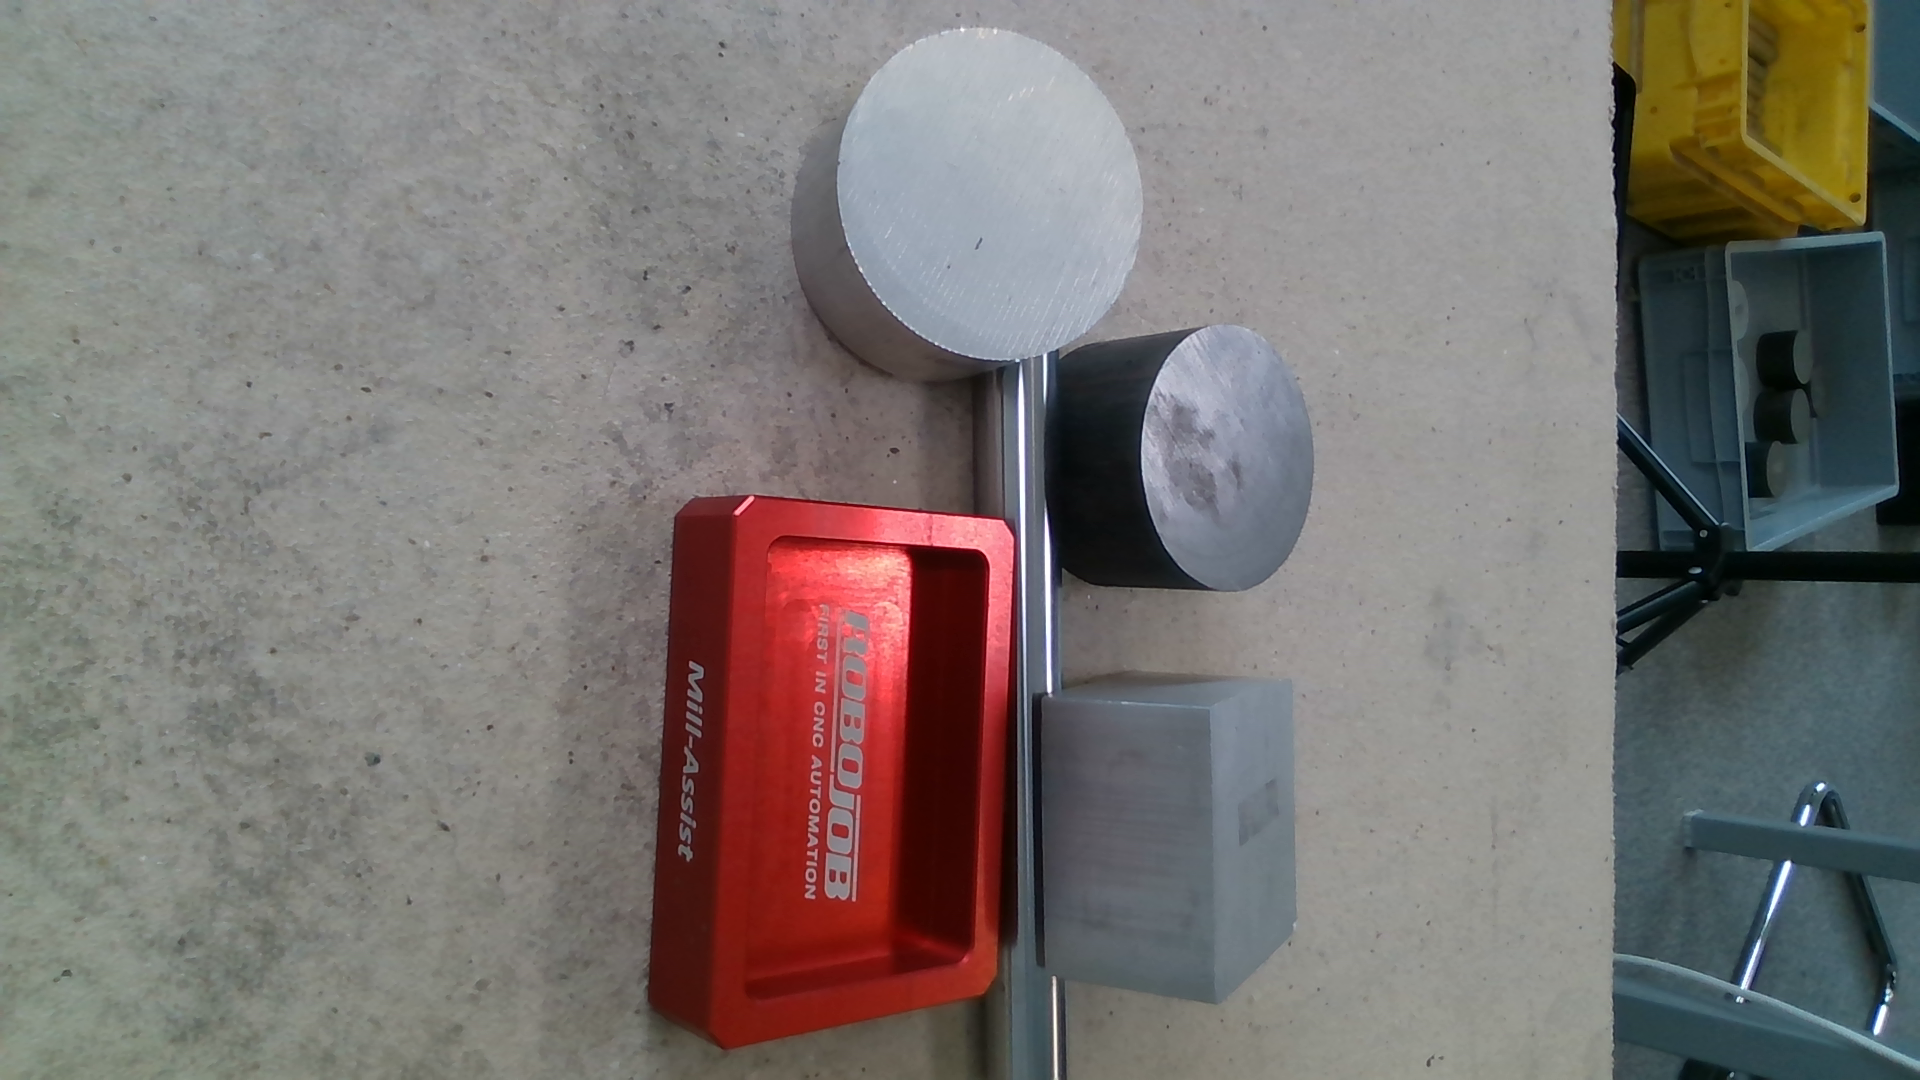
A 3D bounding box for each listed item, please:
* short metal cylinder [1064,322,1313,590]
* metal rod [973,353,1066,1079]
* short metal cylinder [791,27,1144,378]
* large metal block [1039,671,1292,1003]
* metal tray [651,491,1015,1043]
[{"bbox_3d":[0.066,-0.025,0.431,0.080,0.050,0.080,0,90,-41],"label":"short metal cylinder"},{"bbox_3d":[0.017,0.011,0.407,0.025,0.025,0.300,-1,91,-40],"label":"metal rod"},{"bbox_3d":[0.001,-0.085,0.359,0.080,0.050,0.080,0,91,-20],"label":"short metal cylinder"},{"bbox_3d":[0.064,0.083,0.413,0.080,0.050,0.080,-2,91,-61],"label":"large metal block"},{"bbox_3d":[-0.031,0.056,0.361,0.090,0.030,0.130,4,87,-40],"label":"metal tray"}]
